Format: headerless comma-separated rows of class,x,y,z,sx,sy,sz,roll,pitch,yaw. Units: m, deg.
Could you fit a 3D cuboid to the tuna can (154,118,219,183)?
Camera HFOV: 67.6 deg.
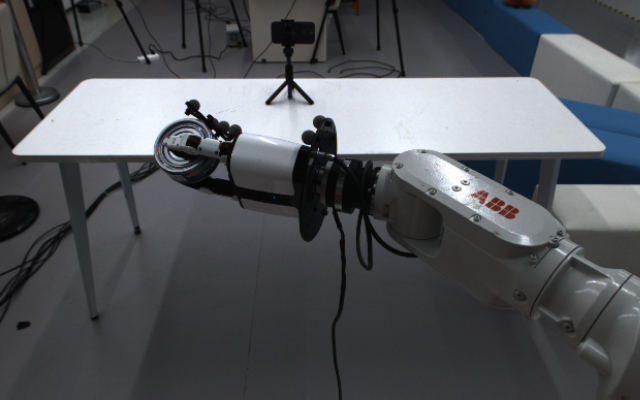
tuna can,-0.180,-0.067,0.660,0.085,0.034,0.085,-4,69,9
